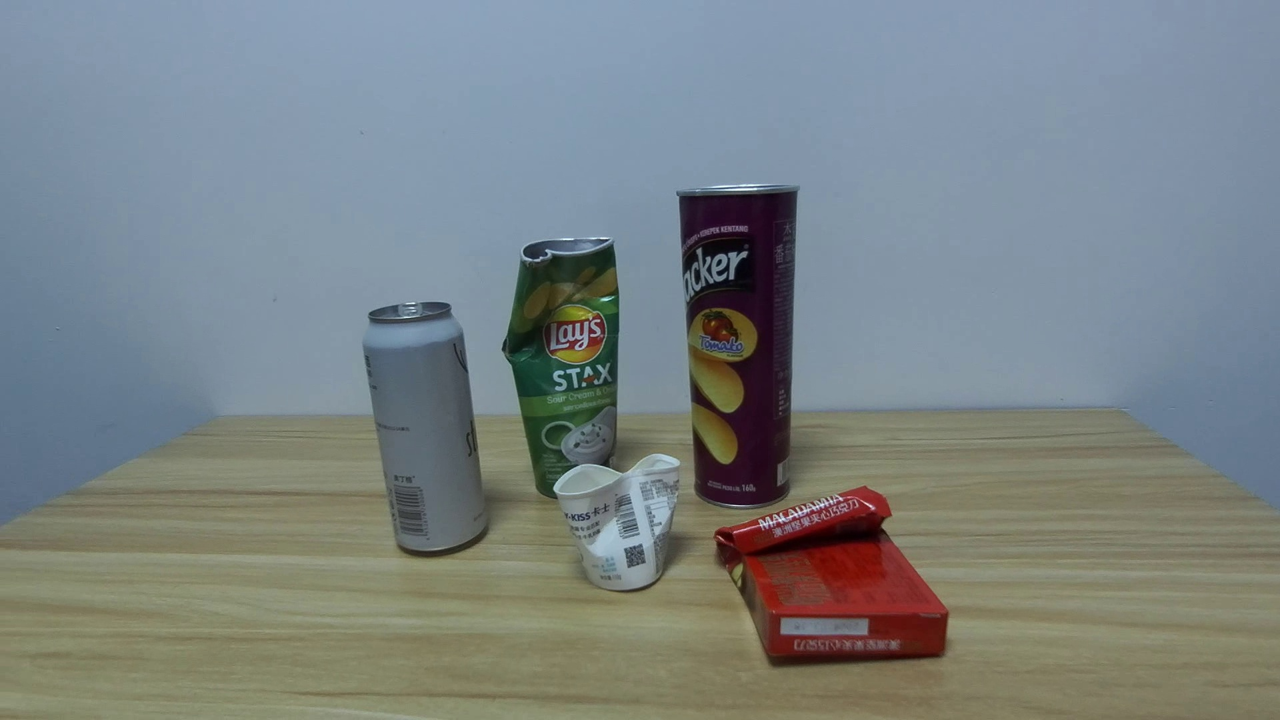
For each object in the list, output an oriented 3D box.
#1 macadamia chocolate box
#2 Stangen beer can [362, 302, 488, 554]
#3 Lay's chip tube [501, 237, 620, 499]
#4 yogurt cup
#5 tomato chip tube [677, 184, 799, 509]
[{"bbox_3d":[0.105,0.125,0.418,0.112,0.056,0.126,-18,18,6],"label":"macadamia chocolate box"},{"bbox_3d":[-0.151,0.048,0.500,0.067,0.171,0.067,-4,12,1],"label":"Stangen beer can"},{"bbox_3d":[-0.058,0.007,0.567,0.069,0.201,0.077,4,19,25],"label":"Lay's chip tube"},{"bbox_3d":[-0.012,0.102,0.451,0.053,0.071,0.076,11,22,37],"label":"yogurt cup"},{"bbox_3d":[0.076,-0.010,0.534,0.077,0.234,0.080,-10,16,-24],"label":"tomato chip tube"}]
